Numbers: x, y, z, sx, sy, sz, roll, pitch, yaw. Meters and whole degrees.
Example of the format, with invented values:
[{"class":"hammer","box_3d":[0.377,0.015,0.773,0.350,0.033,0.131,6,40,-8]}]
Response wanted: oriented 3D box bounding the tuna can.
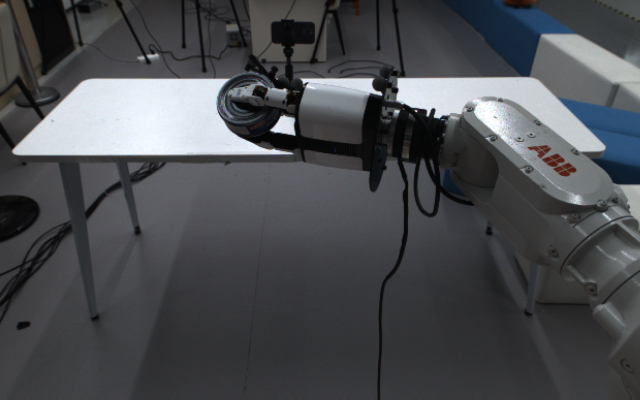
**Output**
[{"class":"tuna can","box_3d":[-0.094,-0.126,0.662,0.085,0.034,0.085,-4,69,10]}]
